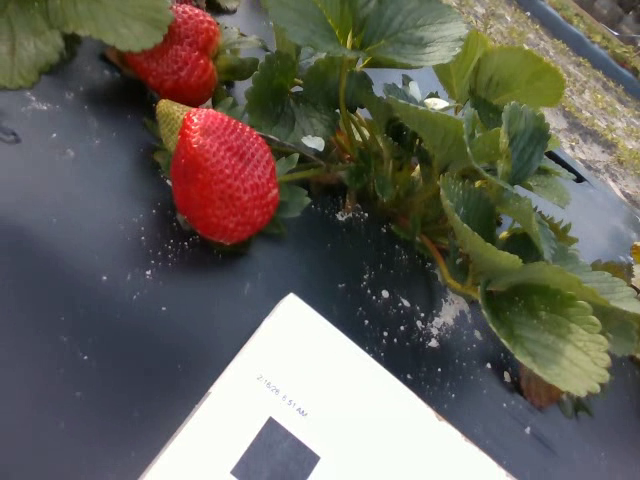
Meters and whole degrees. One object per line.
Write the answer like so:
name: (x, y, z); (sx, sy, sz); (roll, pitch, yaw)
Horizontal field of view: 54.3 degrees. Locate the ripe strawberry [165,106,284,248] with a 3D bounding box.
ripe strawberry: (-0.017, -0.013, 0.105); (0.022, 0.025, 0.030); (15, -15, 15)
